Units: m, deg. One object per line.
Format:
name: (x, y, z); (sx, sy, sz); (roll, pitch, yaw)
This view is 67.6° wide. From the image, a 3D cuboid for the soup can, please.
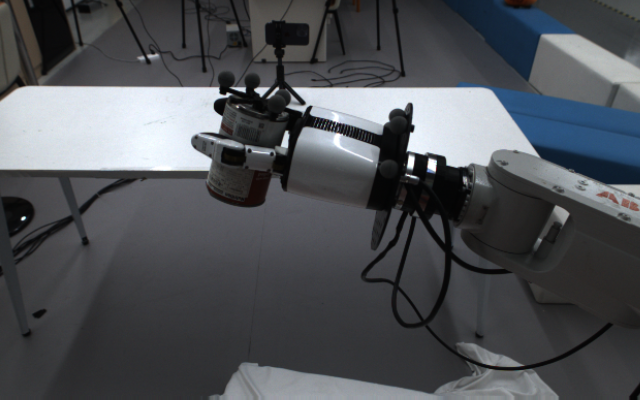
soup can: (-0.077, -0.052, 0.517); (0.067, 0.101, 0.067); (17, 21, -7)
